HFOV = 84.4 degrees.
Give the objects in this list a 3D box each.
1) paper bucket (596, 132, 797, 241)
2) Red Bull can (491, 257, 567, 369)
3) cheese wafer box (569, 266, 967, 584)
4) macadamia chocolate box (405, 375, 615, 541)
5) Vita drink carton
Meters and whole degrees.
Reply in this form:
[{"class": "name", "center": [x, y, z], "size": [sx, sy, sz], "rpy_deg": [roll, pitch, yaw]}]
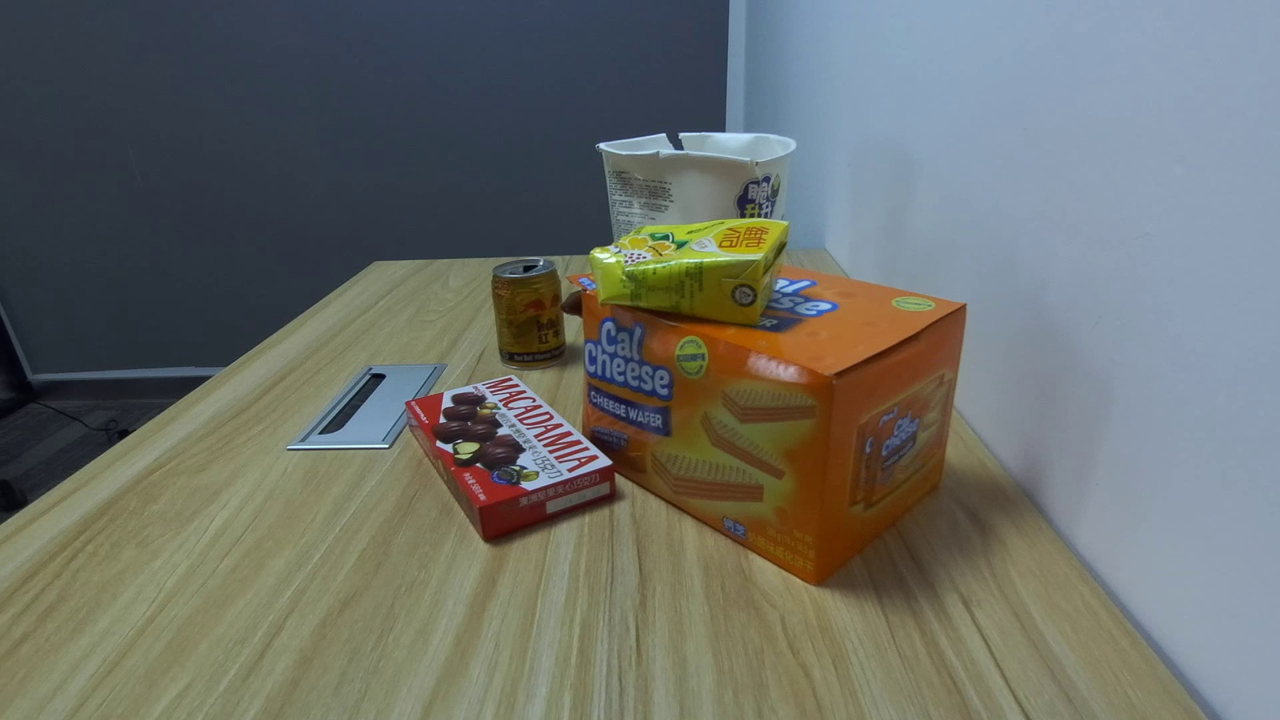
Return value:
[{"class": "paper bucket", "center": [0.055, -0.114, 0.685], "size": [0.202, 0.197, 0.146], "rpy_deg": [14, 28, 32]}, {"class": "Red Bull can", "center": [-0.107, -0.044, 0.684], "size": [0.068, 0.093, 0.068], "rpy_deg": [-1, 19, 1]}, {"class": "cheese wafer box", "center": [0.073, 0.013, 0.475], "size": [0.150, 0.137, 0.226], "rpy_deg": [-22, 31, -37]}, {"class": "macadamia chocolate box", "center": [-0.101, 0.062, 0.517], "size": [0.096, 0.027, 0.177], "rpy_deg": [-14, 27, -28]}, {"class": "Vita drink carton", "center": [0.032, -0.056, 0.435], "size": [0.108, 0.042, 0.087], "rpy_deg": [6, 32, 26]}]
